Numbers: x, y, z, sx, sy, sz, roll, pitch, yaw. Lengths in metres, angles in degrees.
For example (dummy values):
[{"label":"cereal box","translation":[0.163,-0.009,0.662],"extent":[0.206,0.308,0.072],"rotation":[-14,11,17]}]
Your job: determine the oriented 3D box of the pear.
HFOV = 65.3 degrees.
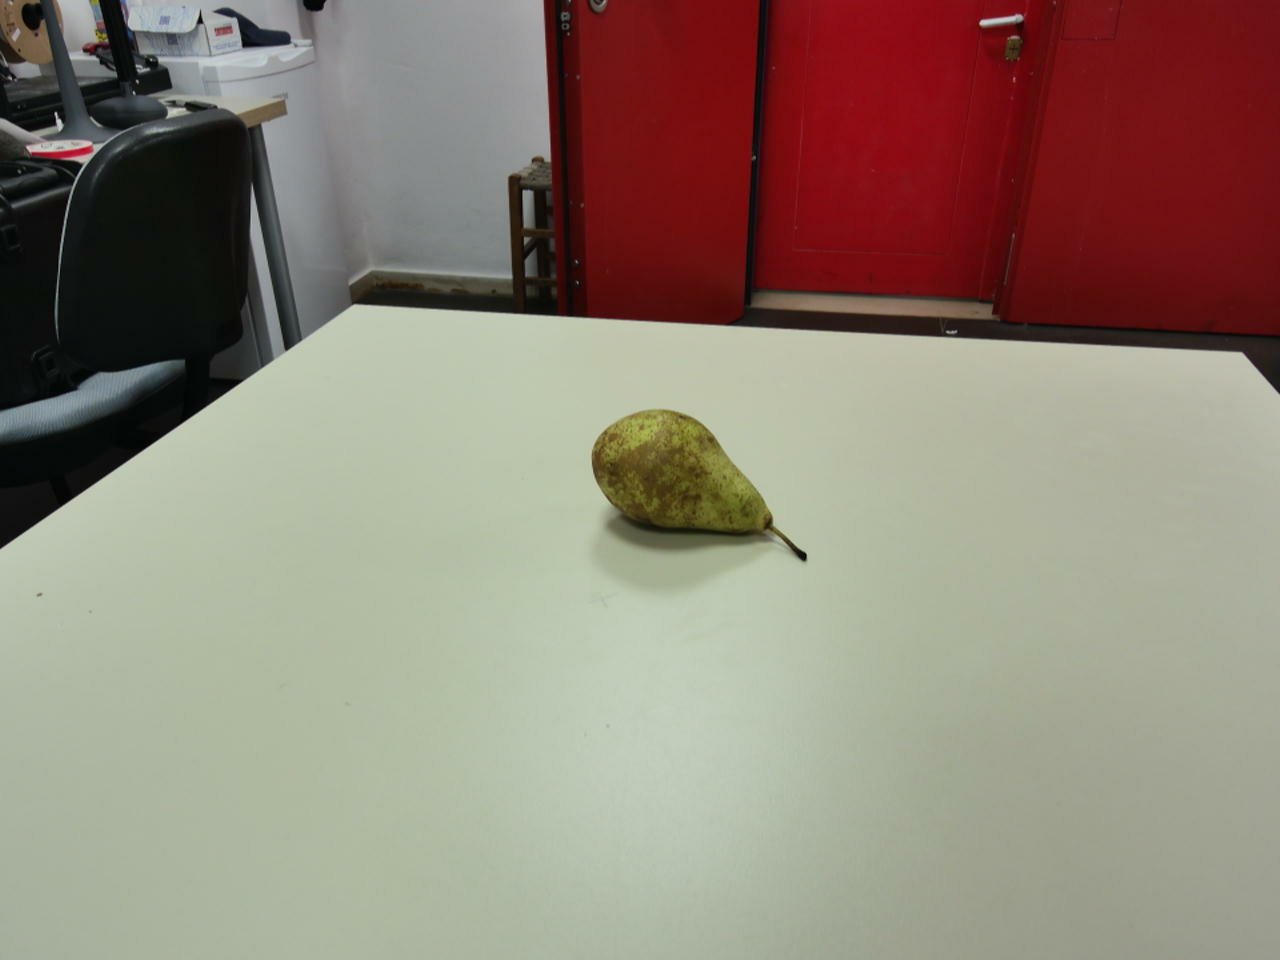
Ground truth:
[{"label":"pear","translation":[0.035,-0.005,0.600],"extent":[0.128,0.075,0.071],"rotation":[2,26,4]}]
